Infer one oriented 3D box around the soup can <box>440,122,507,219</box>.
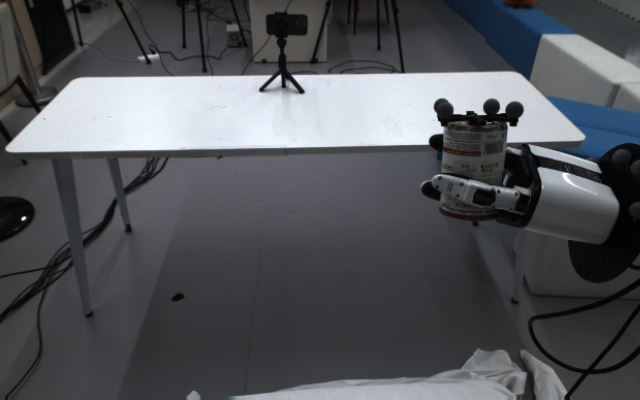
[{"bbox_3d":[0.171,-0.035,0.536,0.067,0.101,0.067,-2,17,0],"label":"soup can"}]
